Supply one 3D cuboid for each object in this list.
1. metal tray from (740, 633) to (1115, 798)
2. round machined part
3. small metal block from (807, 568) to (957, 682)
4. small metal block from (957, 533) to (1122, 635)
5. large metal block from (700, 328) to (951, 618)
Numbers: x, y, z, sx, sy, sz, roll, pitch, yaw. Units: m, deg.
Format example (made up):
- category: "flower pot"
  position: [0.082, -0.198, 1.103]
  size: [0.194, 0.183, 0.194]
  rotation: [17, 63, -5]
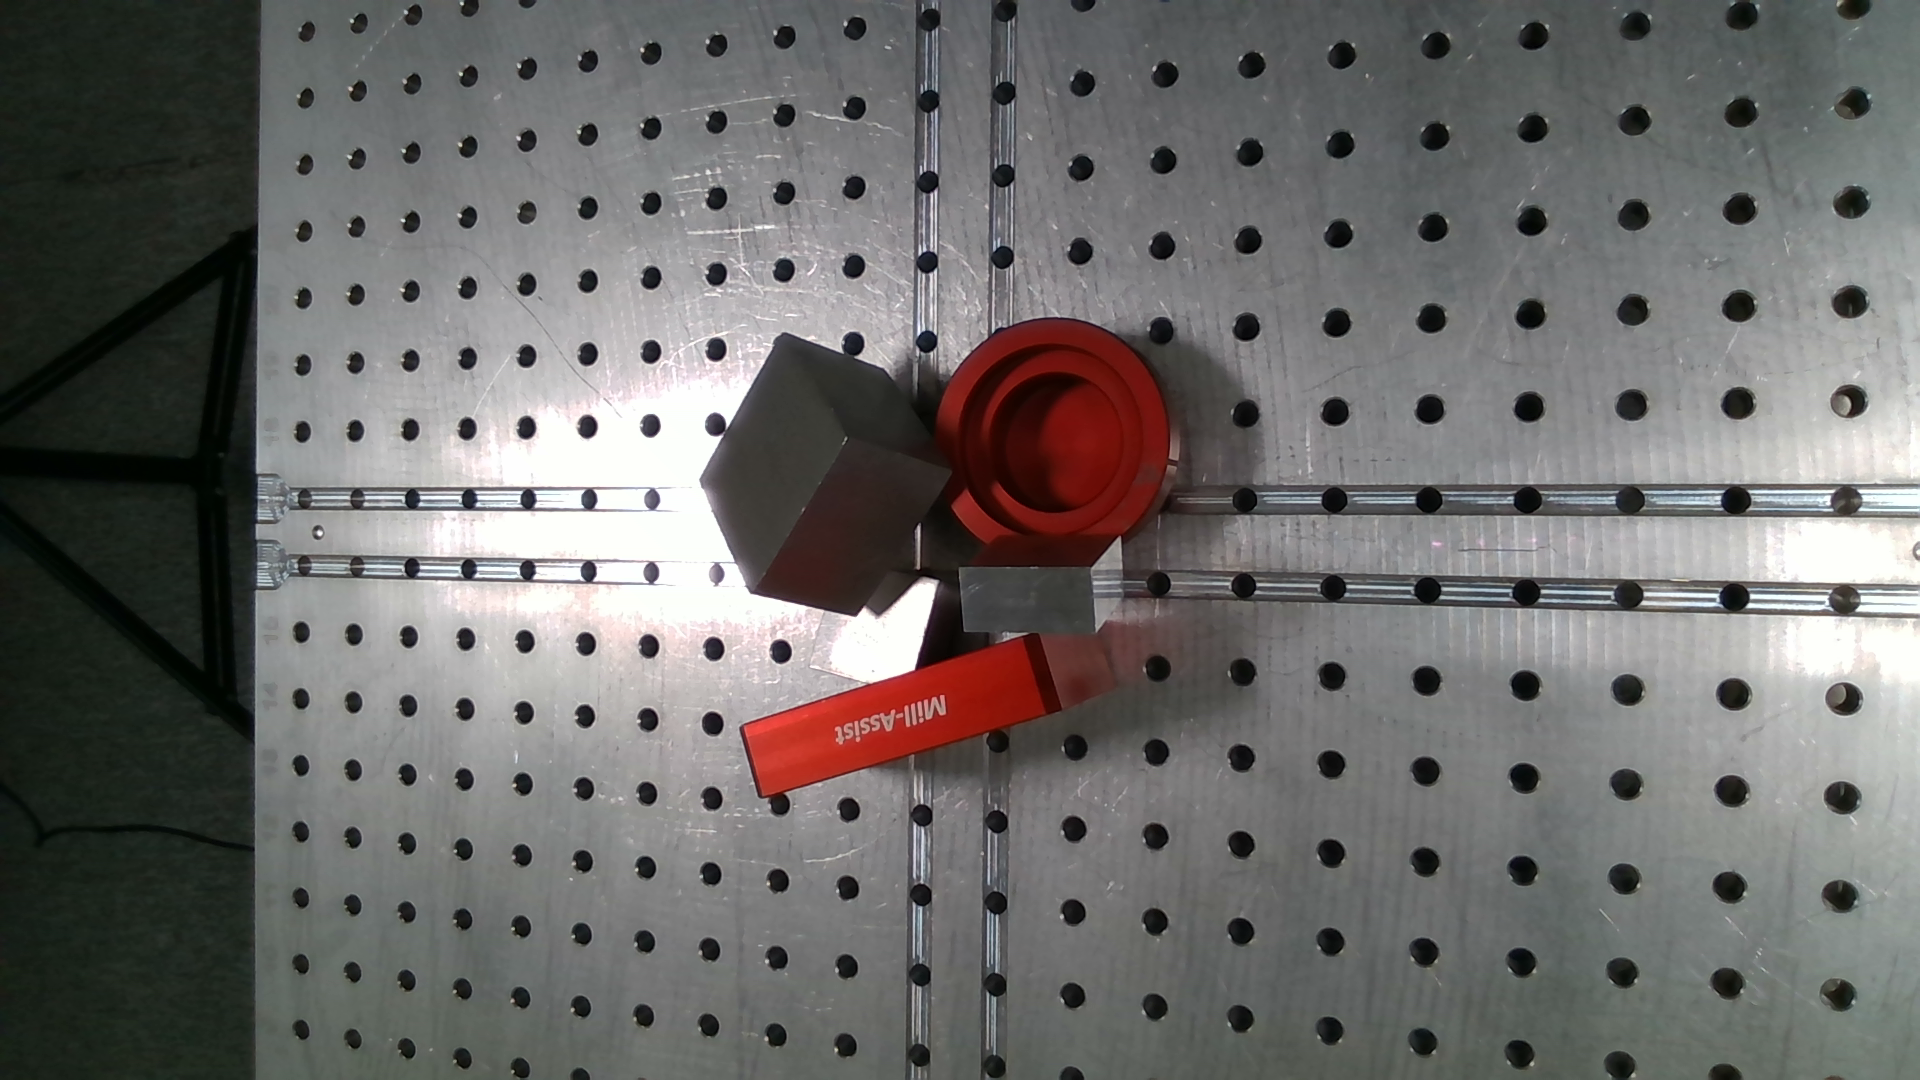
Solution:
- category: "metal tray"
  position: [-0.011, 0.068, 0.558]
  size: [0.130, 0.090, 0.030]
  rotation: [-19, 84, 19]
- category: "round machined part"
  position: [0.042, -0.040, 0.563]
  size: [0.098, 0.042, 0.098]
  rotation: [0, 91, 20]
- category: "small metal block"
  position: [-0.032, 0.039, 0.595]
  size: [0.050, 0.025, 0.050]
  rotation: [12, 84, 24]
- category: "small metal block"
  position: [0.031, 0.016, 0.520]
  size: [0.050, 0.050, 0.025]
  rotation: [0, 104, 19]
- category: "large metal block"
  position: [-0.059, -0.028, 0.572]
  size: [0.080, 0.050, 0.080]
  rotation: [-56, 41, 23]
